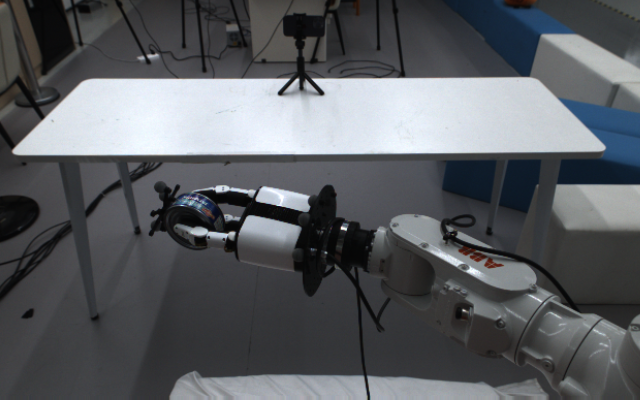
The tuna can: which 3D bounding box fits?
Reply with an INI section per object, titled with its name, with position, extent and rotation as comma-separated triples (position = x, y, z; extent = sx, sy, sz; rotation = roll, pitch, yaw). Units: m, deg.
[tuna can]
position = -0.185, 0.033, 0.720
extent = 0.085, 0.085, 0.034
rotation = 9, 37, 10
